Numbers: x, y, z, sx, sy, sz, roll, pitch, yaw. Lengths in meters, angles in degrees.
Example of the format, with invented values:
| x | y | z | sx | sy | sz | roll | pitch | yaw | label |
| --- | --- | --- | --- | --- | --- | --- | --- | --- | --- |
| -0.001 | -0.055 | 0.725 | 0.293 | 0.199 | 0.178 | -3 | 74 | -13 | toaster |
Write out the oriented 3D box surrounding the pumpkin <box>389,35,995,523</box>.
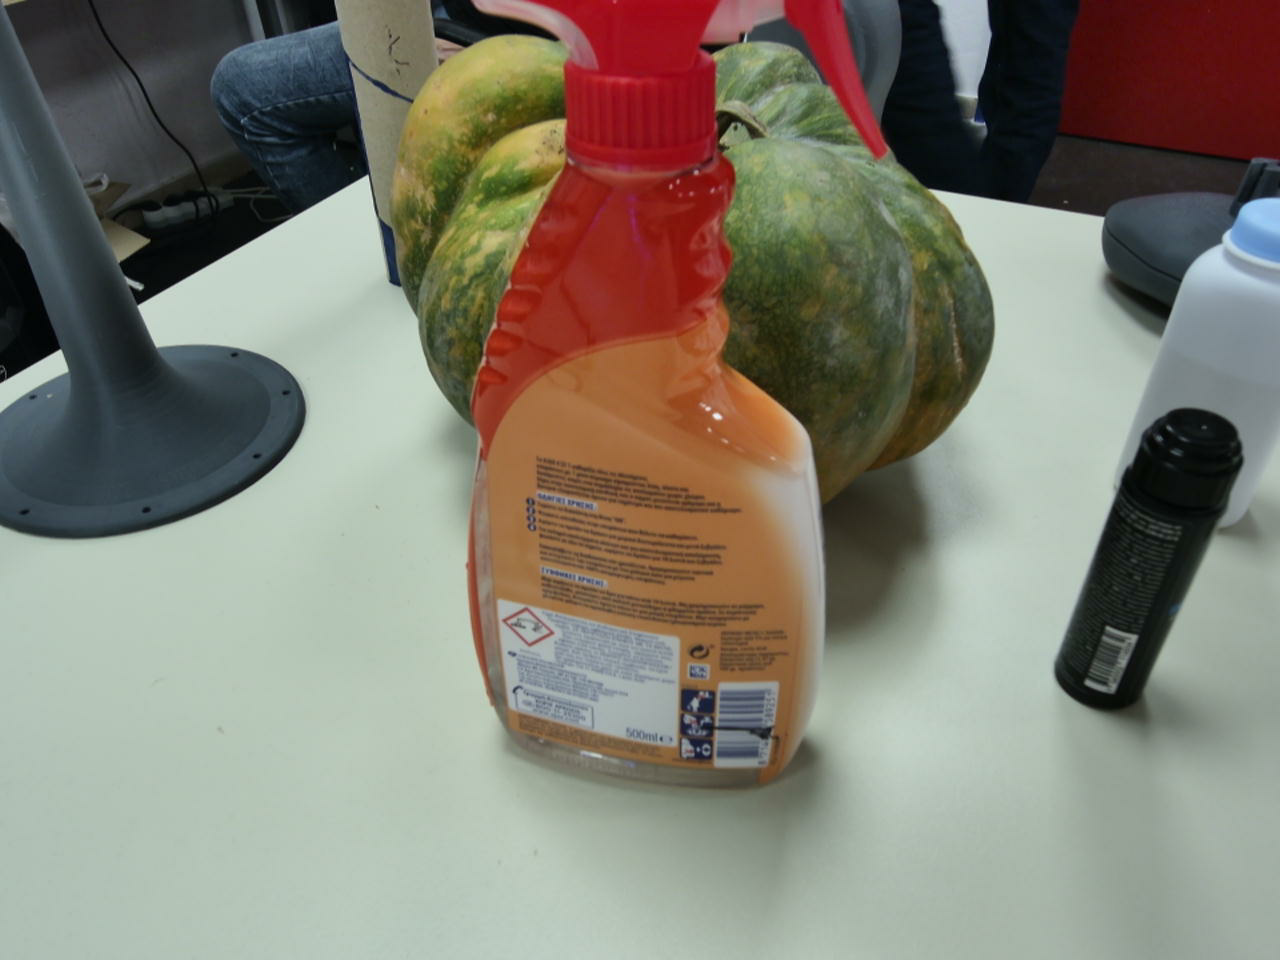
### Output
| x | y | z | sx | sy | sz | roll | pitch | yaw | label |
| --- | --- | --- | --- | --- | --- | --- | --- | --- | --- |
| 0.021 | -0.094 | 0.429 | 0.237 | 0.173 | 0.270 | -17 | 41 | -20 | pumpkin |
